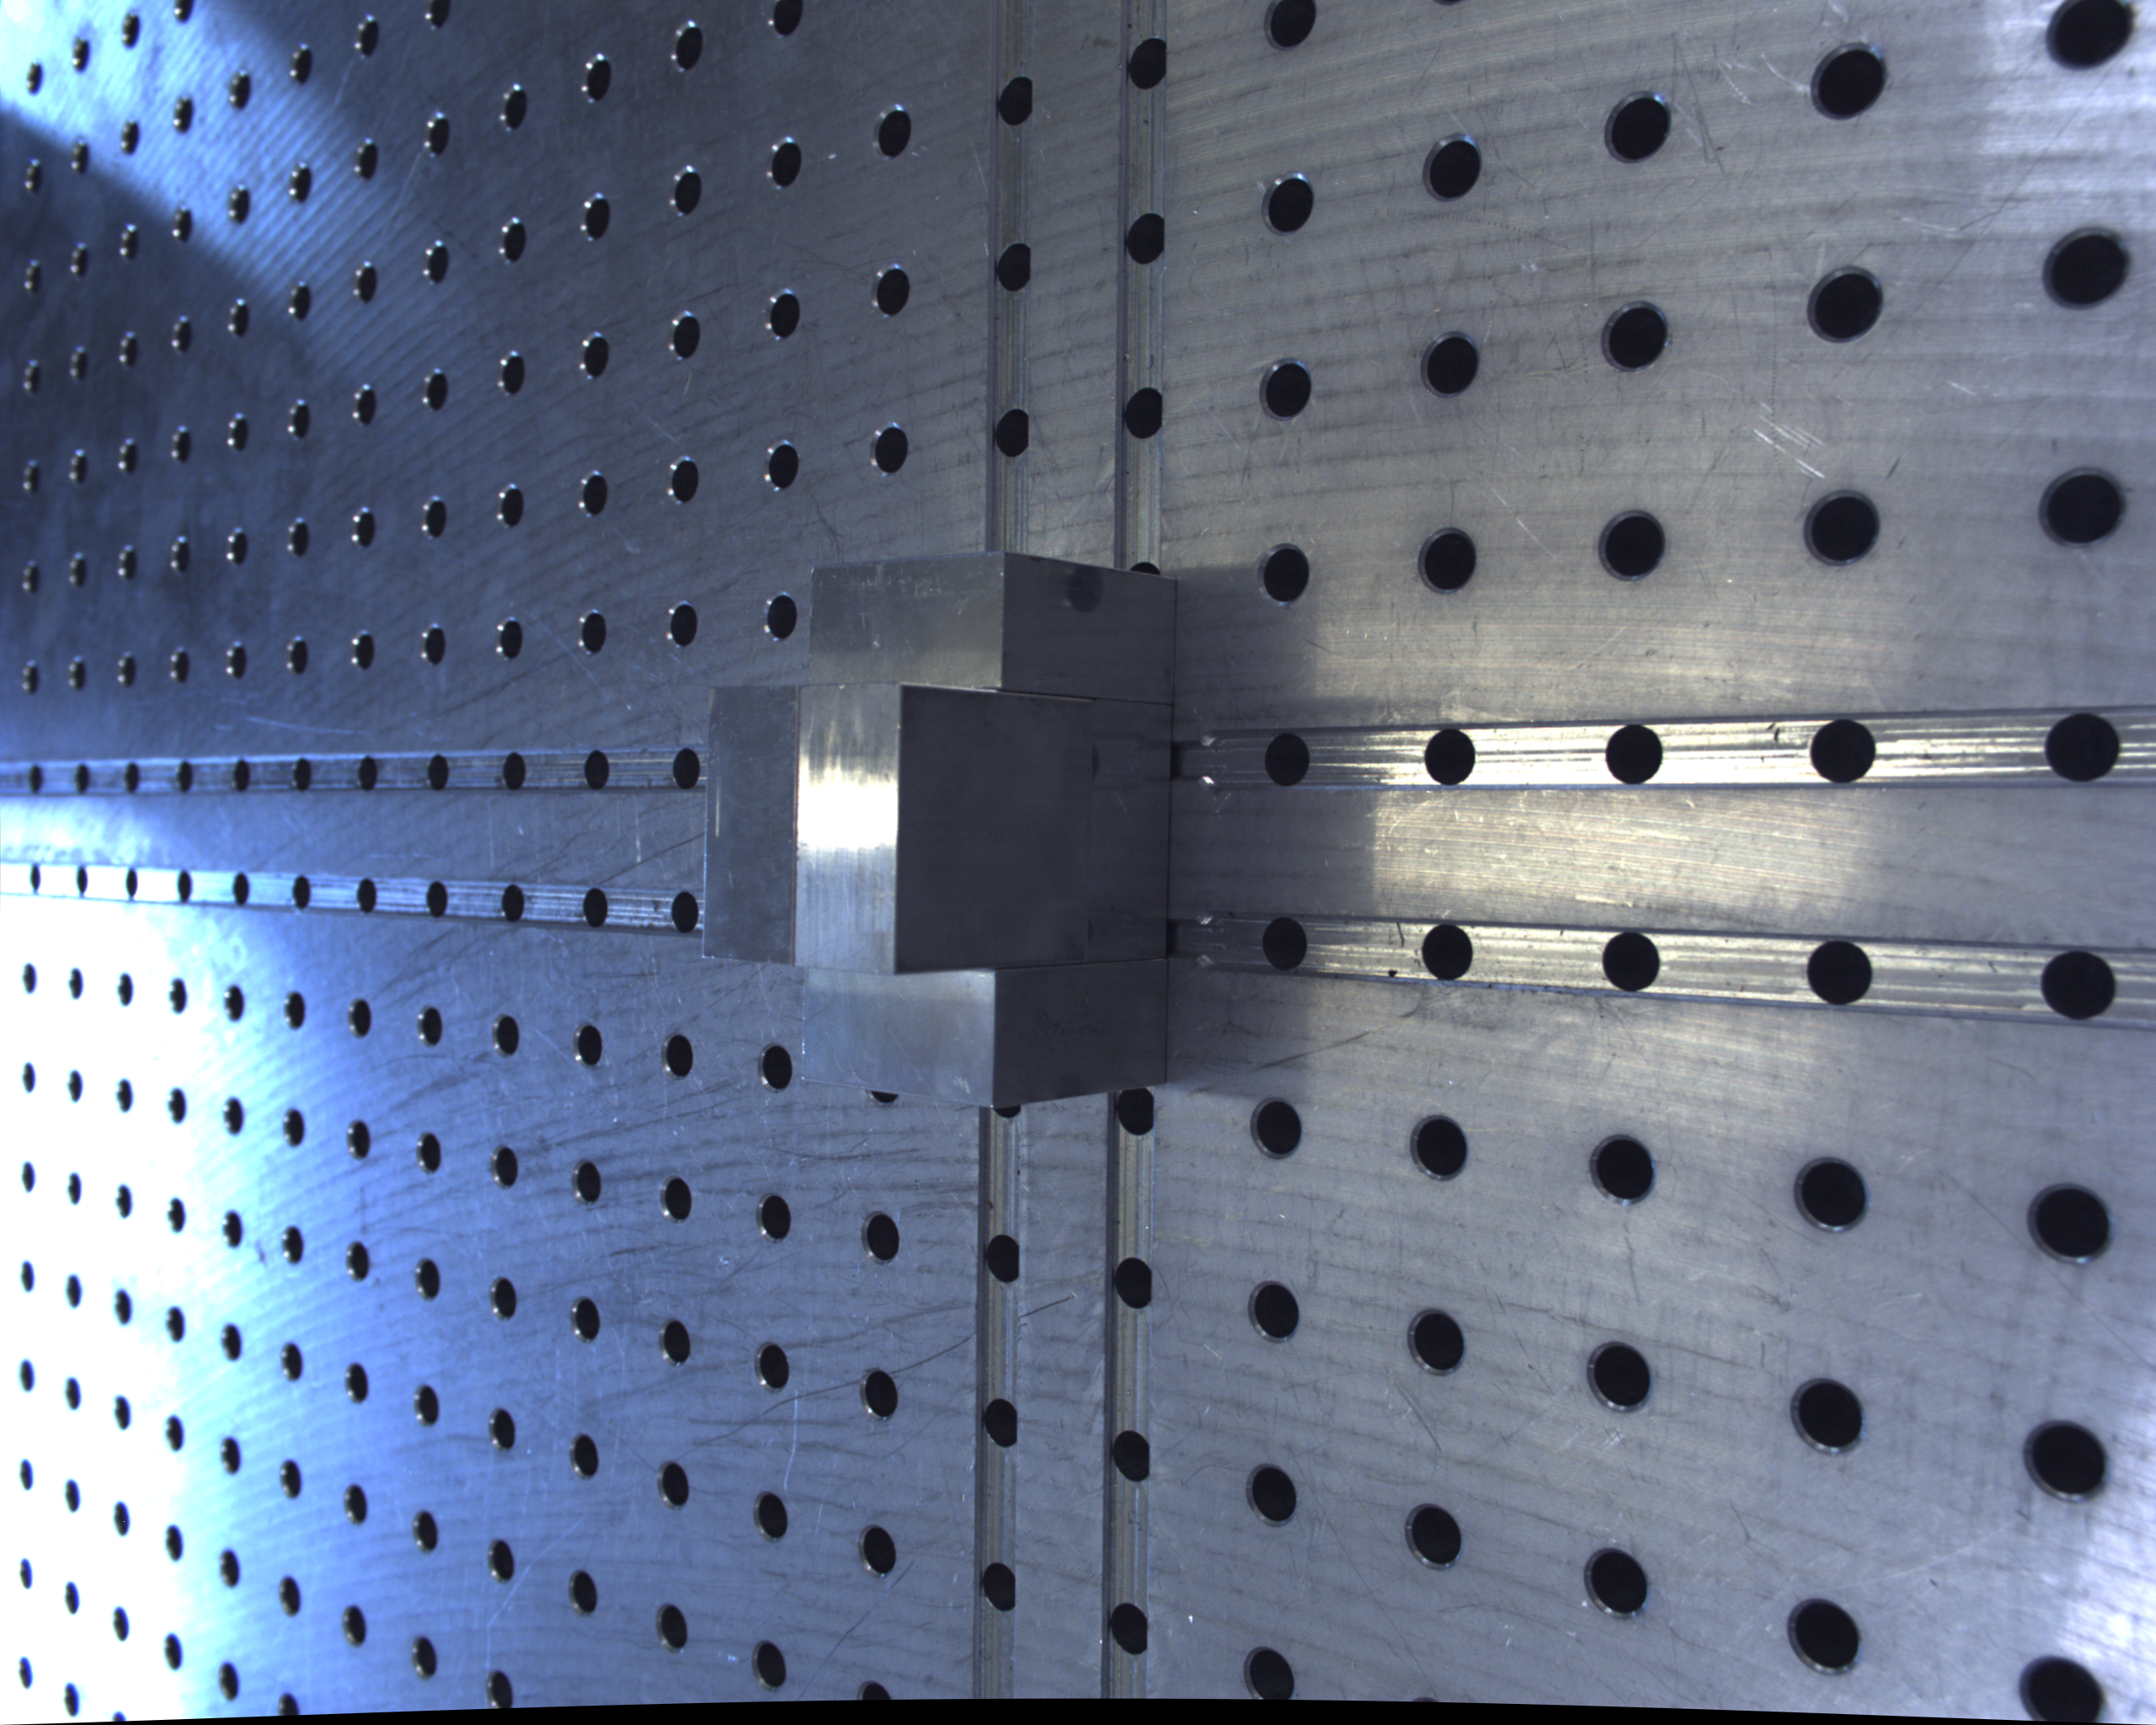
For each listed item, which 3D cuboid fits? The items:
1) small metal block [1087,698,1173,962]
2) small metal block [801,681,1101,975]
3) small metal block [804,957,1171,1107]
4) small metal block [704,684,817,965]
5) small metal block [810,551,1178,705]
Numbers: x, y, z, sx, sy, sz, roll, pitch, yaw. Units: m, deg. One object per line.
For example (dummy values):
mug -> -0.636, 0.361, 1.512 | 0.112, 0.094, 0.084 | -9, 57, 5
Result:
small metal block -> -0.009, -0.007, 0.417 | 0.050, 0.025, 0.050 | 2, 92, 41
small metal block -> -0.022, -0.006, 0.380 | 0.025, 0.050, 0.050 | 3, 92, 41
small metal block -> -0.017, 0.030, 0.408 | 0.050, 0.050, 0.025 | 2, 91, 40
small metal block -> -0.043, -0.007, 0.396 | 0.025, 0.050, 0.050 | 2, 92, 40
small metal block -> -0.016, -0.044, 0.407 | 0.050, 0.050, 0.025 | 3, 92, 40
